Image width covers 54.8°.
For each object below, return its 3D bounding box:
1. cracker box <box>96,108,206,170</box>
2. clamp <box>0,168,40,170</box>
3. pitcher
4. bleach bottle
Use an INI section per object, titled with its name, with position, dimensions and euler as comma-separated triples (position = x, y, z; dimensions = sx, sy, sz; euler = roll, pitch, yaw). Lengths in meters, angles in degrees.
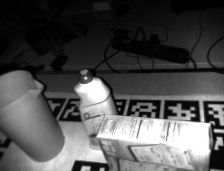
[cracker box]
position = 0.088, 0.129, 0.474
dimensions = 0.212, 0.165, 0.072
euler = -1, 39, 19
[clamp]
position = -0.233, 0.255, 0.546
dimensions = 0.165, 0.037, 0.121
euler = -10, 39, 3
[pitcher]
position = -0.240, 0.074, 0.563
dimensions = 0.189, 0.244, 0.132
euler = -11, 39, 1
[bleach bottle]
position = -0.049, 0.060, 0.552
dimensions = 0.102, 0.253, 0.068
euler = -1, 41, 17
